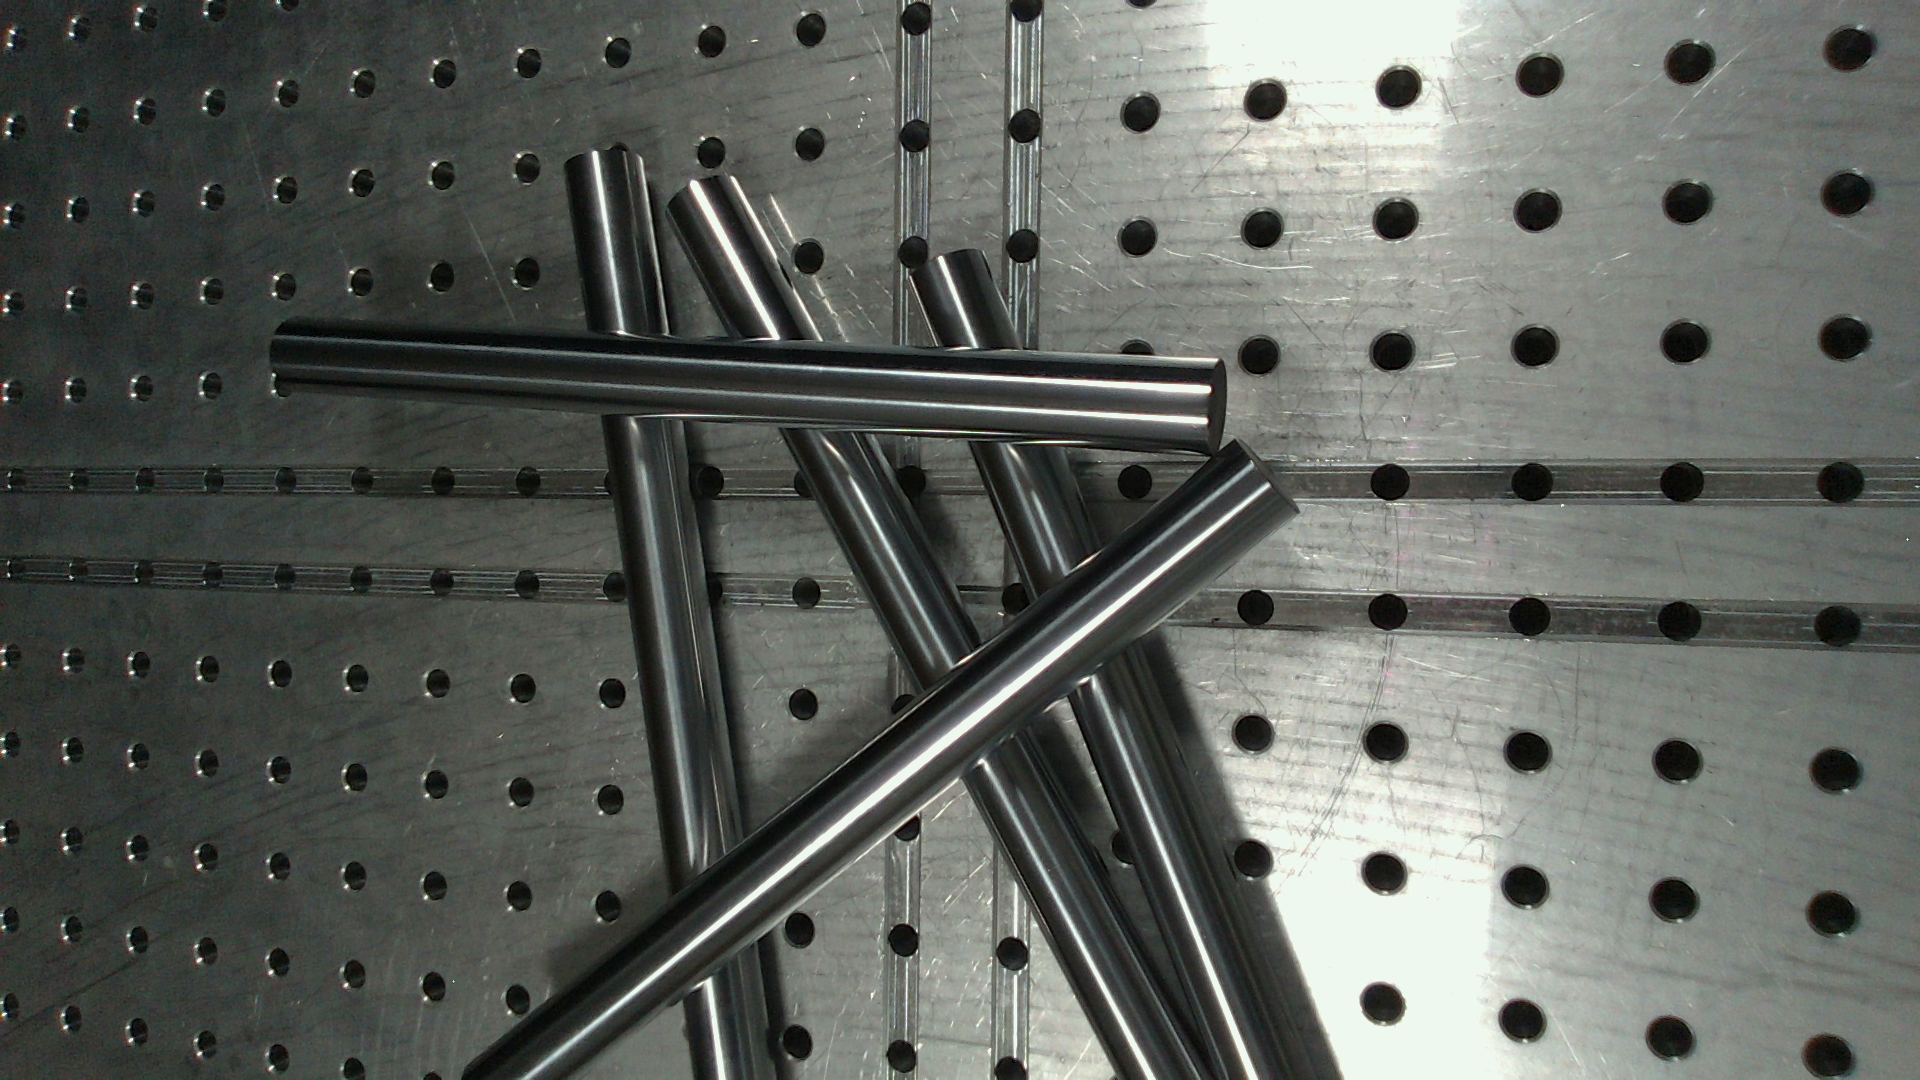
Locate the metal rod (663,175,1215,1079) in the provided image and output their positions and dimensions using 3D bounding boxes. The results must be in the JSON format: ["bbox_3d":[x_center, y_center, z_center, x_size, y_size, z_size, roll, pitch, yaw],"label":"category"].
[{"bbox_3d":[-0.010,0.024,0.401,0.025,0.025,0.300,-32,80,17],"label":"metal rod"}]

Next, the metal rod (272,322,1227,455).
[{"bbox_3d":[-0.075,-0.047,0.399,0.299,0.025,0.025,5,92,20],"label":"metal rod"}]

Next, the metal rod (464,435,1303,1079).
[{"bbox_3d":[-0.032,0.077,0.383,0.299,0.025,0.025,-40,77,15],"label":"metal rod"}]

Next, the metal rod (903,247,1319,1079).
[{"bbox_3d":[0.049,0.059,0.380,0.025,0.025,0.300,-24,82,18],"label":"metal rod"}]

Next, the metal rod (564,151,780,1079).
[{"bbox_3d":[-0.090,0.029,0.430,0.025,0.025,0.300,-10,87,20],"label":"metal rod"}]
